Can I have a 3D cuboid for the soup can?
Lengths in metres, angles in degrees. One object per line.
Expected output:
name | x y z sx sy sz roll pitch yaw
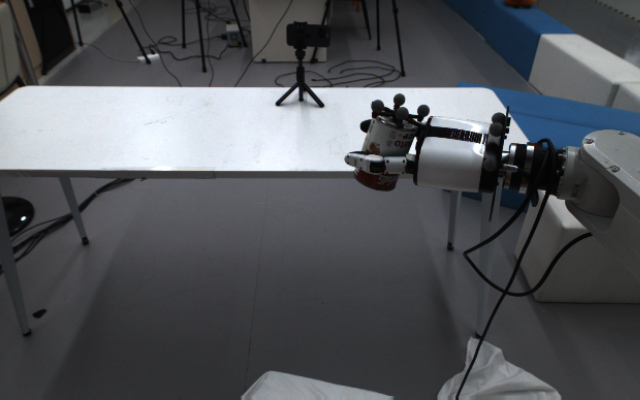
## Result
soup can | 0.096 -0.074 0.706 0.067 0.101 0.067 13 30 -8
